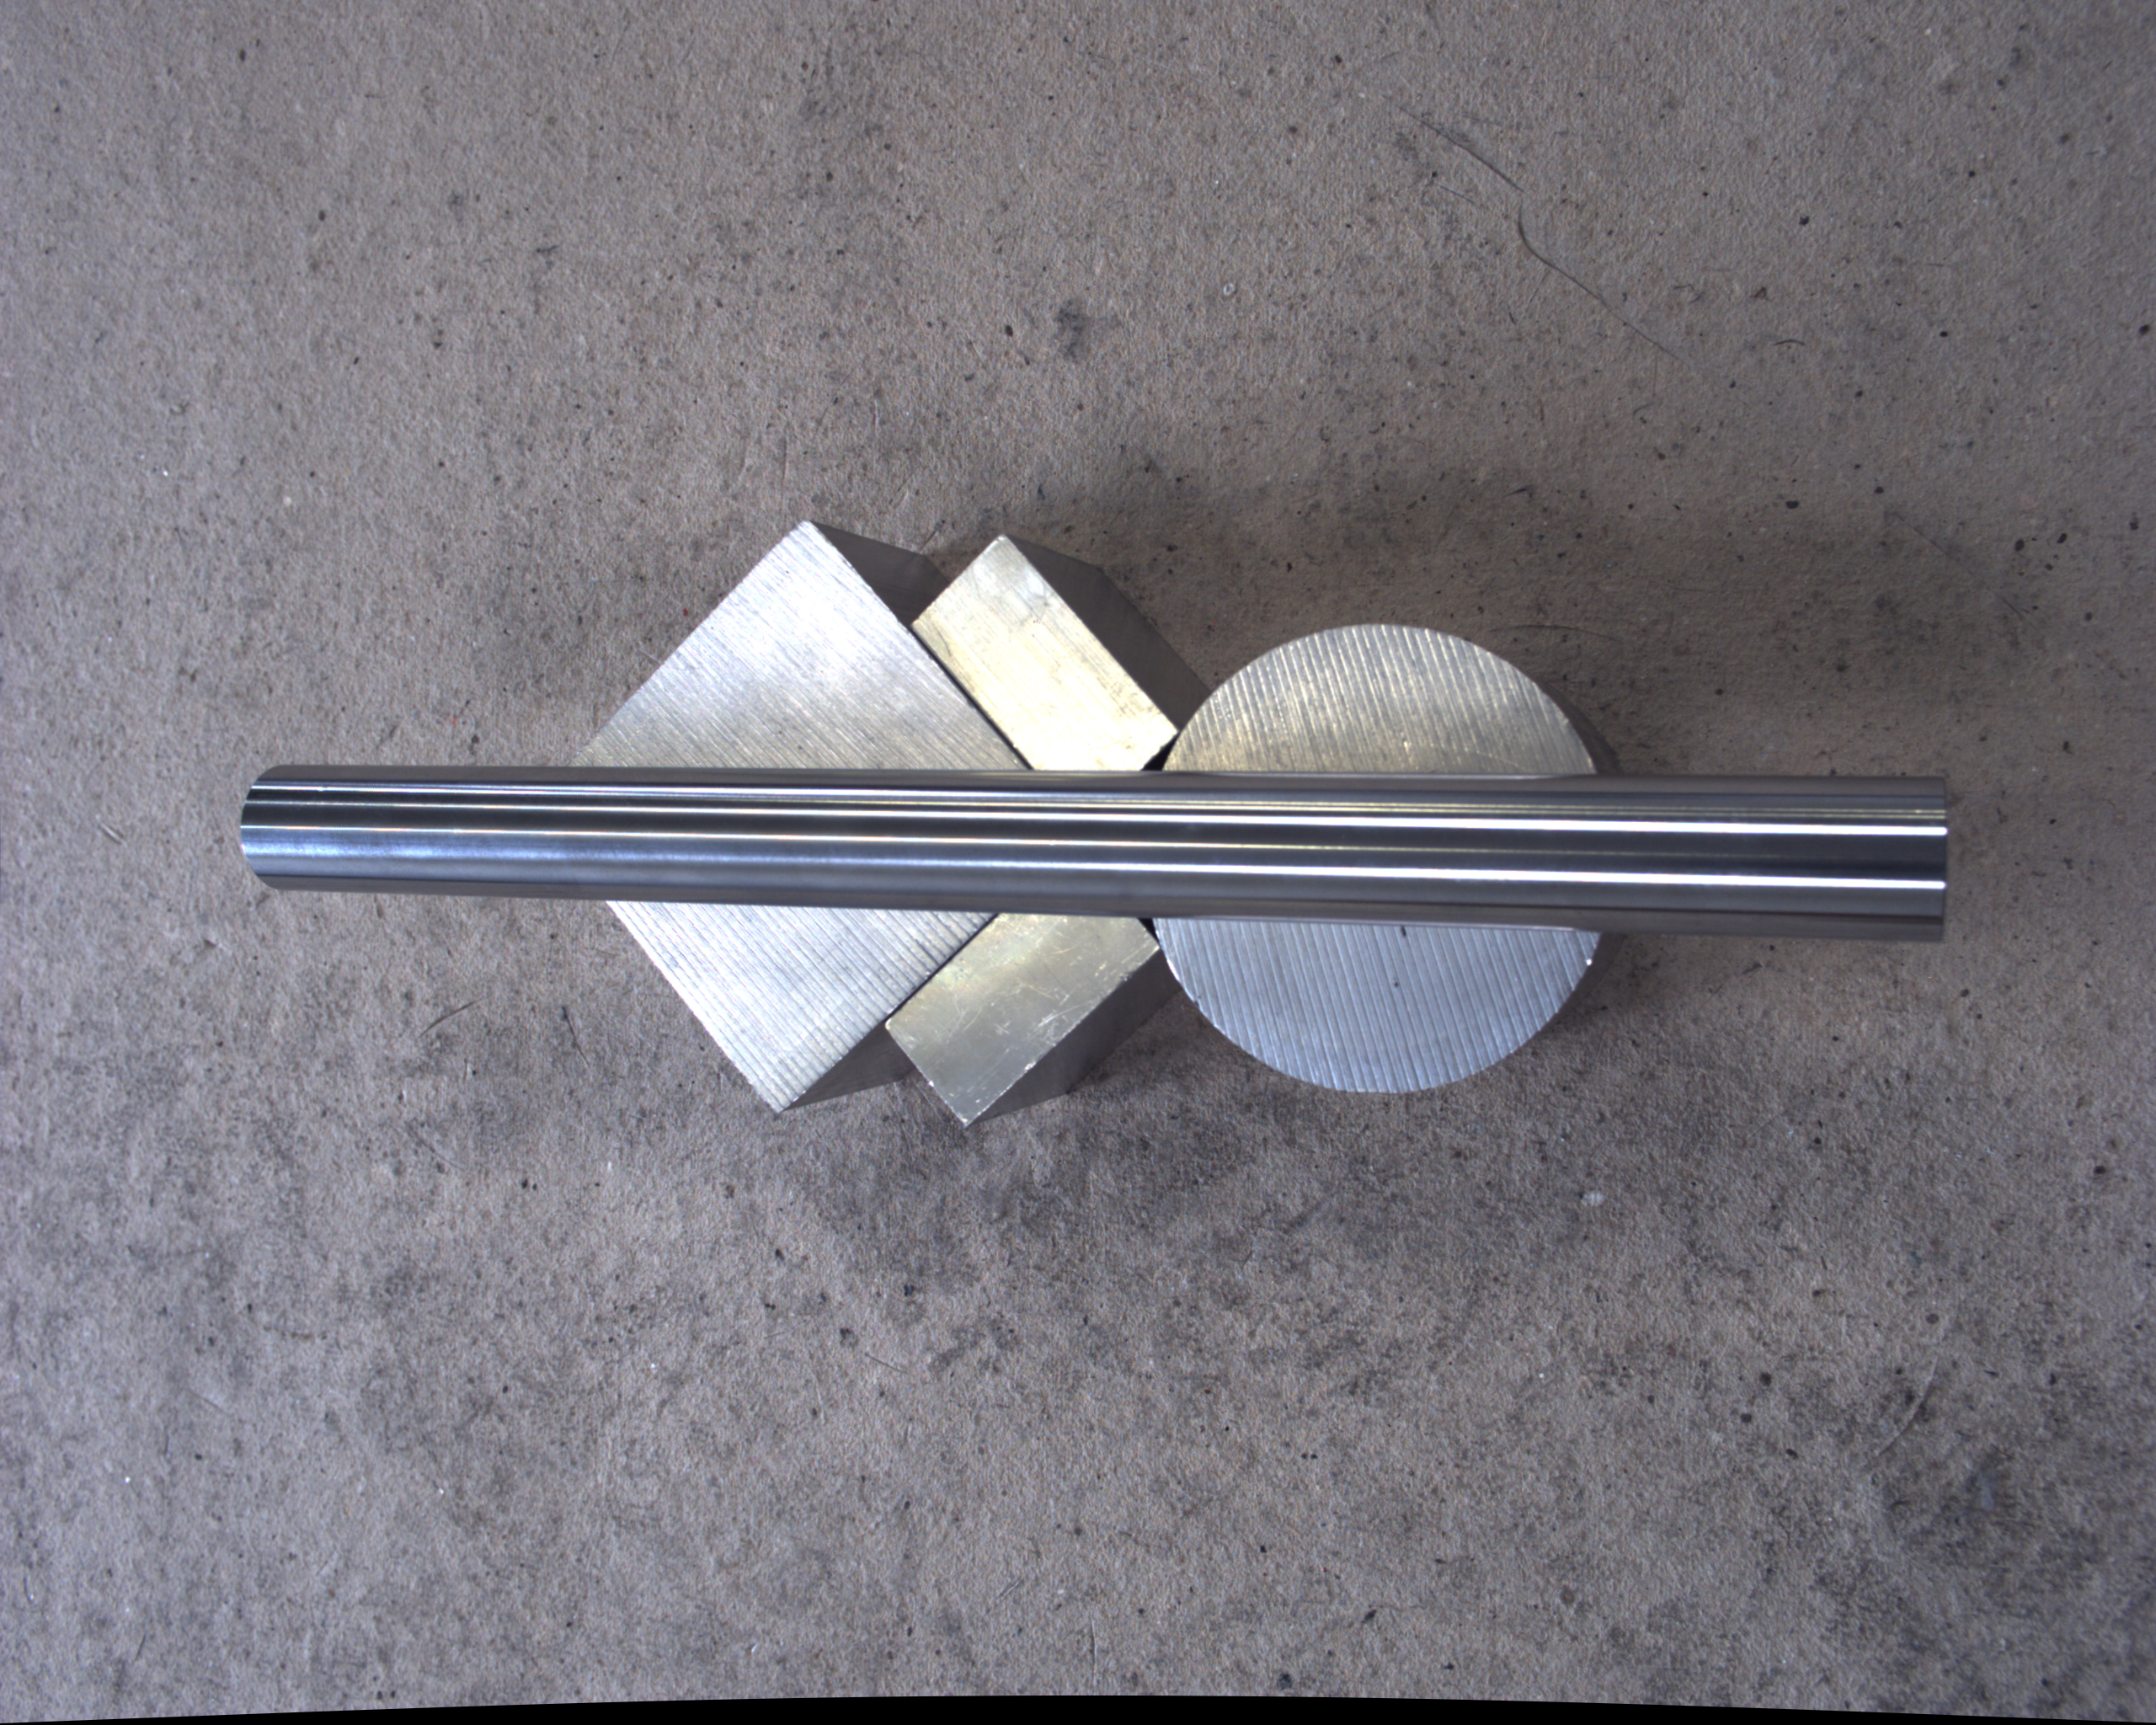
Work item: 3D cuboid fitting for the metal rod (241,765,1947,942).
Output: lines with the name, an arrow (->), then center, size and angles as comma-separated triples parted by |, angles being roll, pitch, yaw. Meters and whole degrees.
metal rod -> -0.014, -0.004, 0.360 | 0.301, 0.025, 0.025 | 1, 91, 19

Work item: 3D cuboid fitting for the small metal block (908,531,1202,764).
small metal block -> 0.002, -0.033, 0.397 | 0.025, 0.050, 0.050 | -44, 77, 15

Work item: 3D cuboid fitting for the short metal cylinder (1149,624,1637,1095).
short metal cylinder -> 0.057, -0.001, 0.376 | 0.080, 0.050, 0.080 | 0, 90, 20

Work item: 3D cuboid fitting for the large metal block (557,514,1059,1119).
large metal block -> -0.045, -0.009, 0.411 | 0.080, 0.050, 0.080 | -44, 77, 14

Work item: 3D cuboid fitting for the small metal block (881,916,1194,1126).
small metal block -> -0.002, 0.022, 0.399 | 0.050, 0.050, 0.025 | -44, 77, 15
